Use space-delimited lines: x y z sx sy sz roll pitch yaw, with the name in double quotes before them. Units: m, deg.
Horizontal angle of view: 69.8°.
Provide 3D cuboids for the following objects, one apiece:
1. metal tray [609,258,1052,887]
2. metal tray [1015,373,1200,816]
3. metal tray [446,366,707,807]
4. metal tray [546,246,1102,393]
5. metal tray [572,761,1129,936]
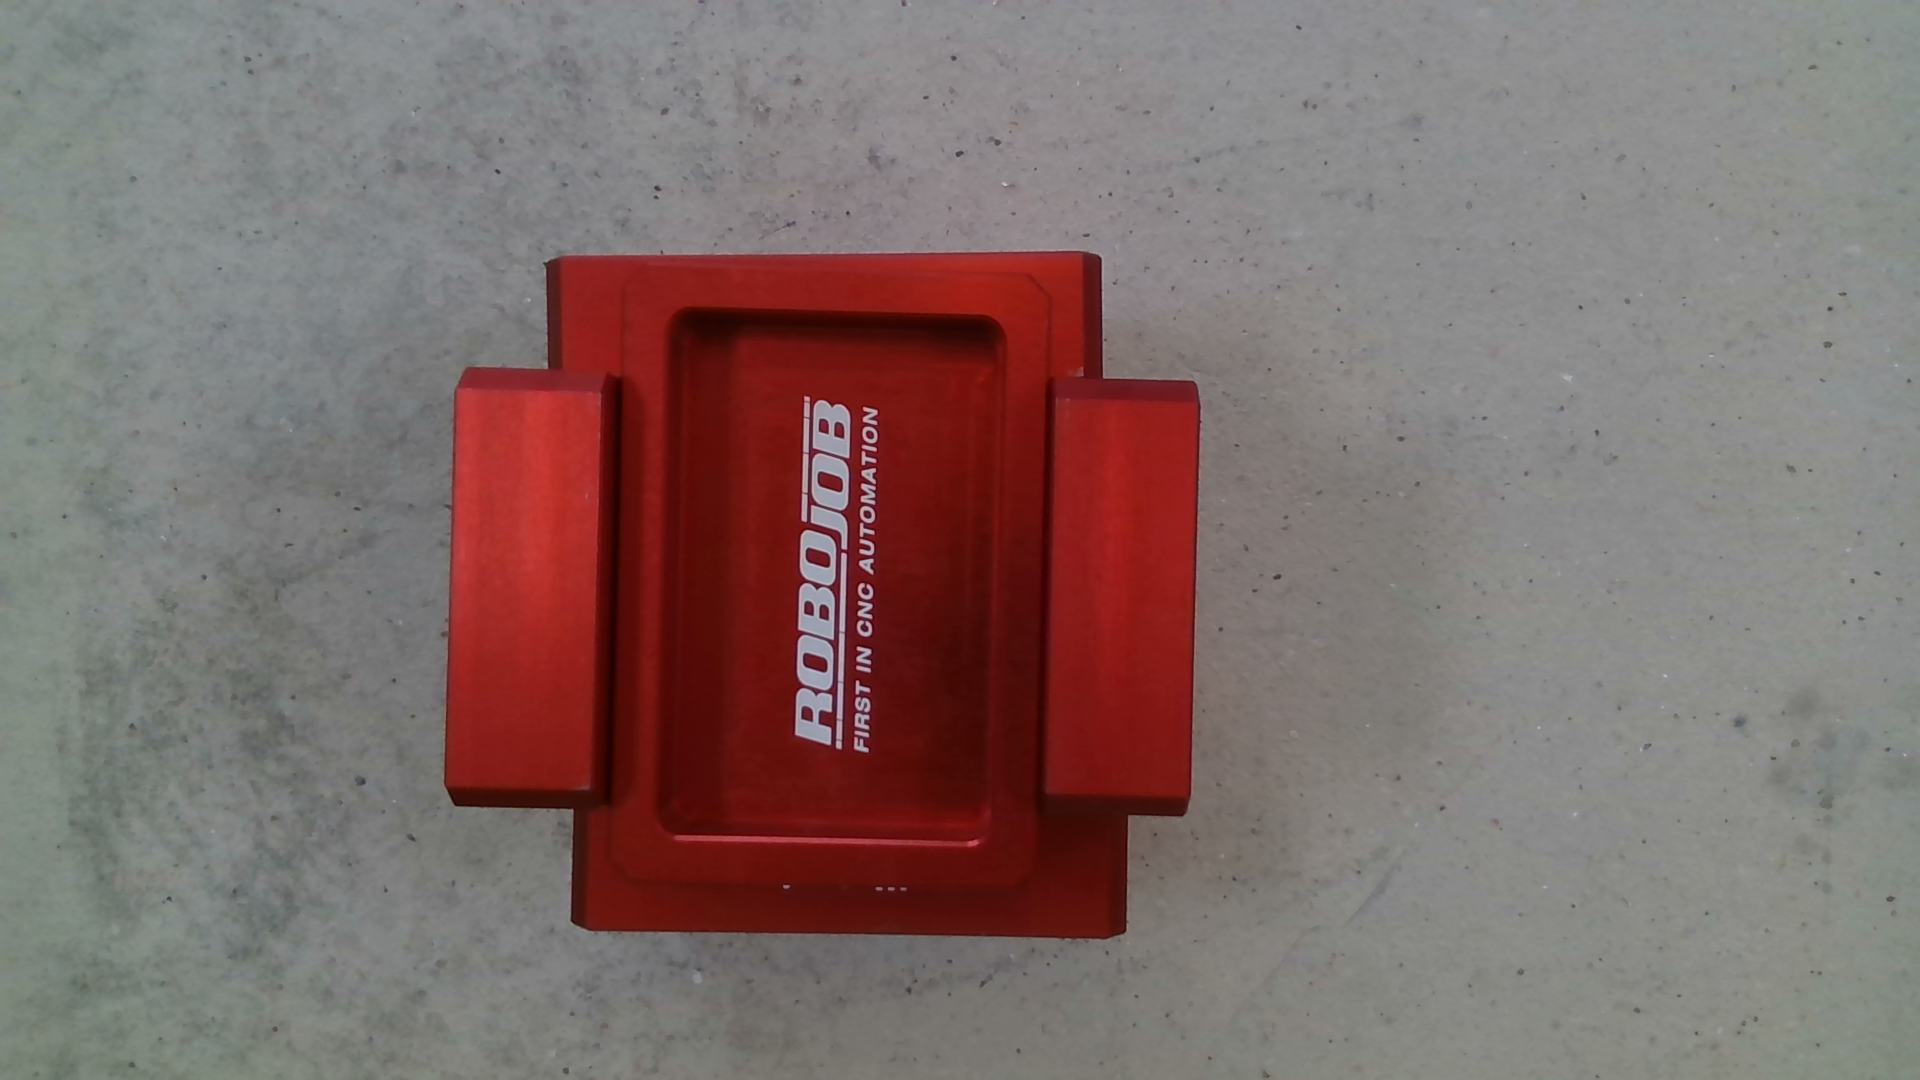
"metal tray" -0.027 0.007 0.303 0.090 0.030 0.130 2 90 0
"metal tray" 0.032 0.011 0.342 0.030 0.130 0.090 2 90 0
"metal tray" -0.088 0.010 0.342 0.030 0.130 0.090 1 90 1
"metal tray" -0.032 -0.052 0.362 0.130 0.090 0.030 -1 90 0
"metal tray" -0.026 0.076 0.363 0.130 0.090 0.030 1 89 -1
